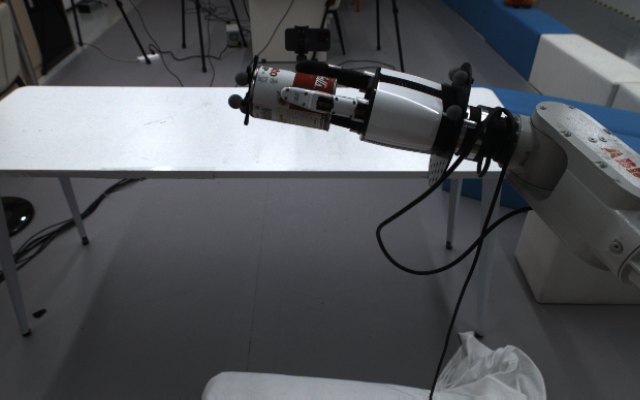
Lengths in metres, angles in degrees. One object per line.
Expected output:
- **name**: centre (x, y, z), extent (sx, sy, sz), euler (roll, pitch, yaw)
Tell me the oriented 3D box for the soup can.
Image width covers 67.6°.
- **soup can**: centre (-0.032, -0.130, 0.620), extent (0.101, 0.067, 0.067), euler (10, 35, 0)
